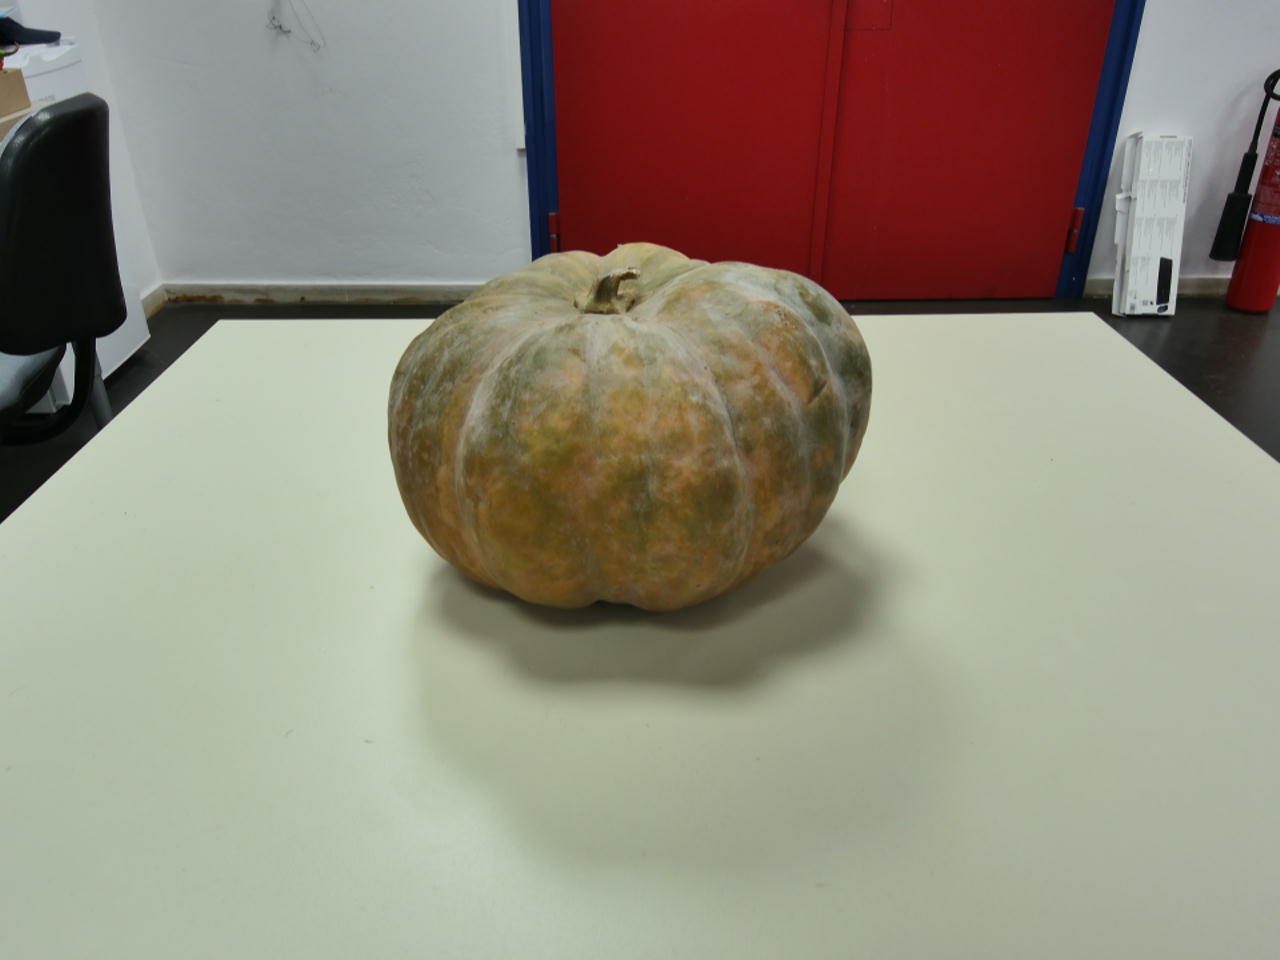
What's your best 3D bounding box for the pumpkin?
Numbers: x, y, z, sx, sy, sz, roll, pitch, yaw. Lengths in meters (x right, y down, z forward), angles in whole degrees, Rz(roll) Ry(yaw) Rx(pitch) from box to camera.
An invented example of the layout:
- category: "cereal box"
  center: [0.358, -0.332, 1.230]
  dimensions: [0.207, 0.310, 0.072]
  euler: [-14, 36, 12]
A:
- category: "pumpkin"
  center: [-0.012, -0.033, 0.534]
  dimensions: [0.252, 0.169, 0.251]
  euler: [0, 26, 0]
